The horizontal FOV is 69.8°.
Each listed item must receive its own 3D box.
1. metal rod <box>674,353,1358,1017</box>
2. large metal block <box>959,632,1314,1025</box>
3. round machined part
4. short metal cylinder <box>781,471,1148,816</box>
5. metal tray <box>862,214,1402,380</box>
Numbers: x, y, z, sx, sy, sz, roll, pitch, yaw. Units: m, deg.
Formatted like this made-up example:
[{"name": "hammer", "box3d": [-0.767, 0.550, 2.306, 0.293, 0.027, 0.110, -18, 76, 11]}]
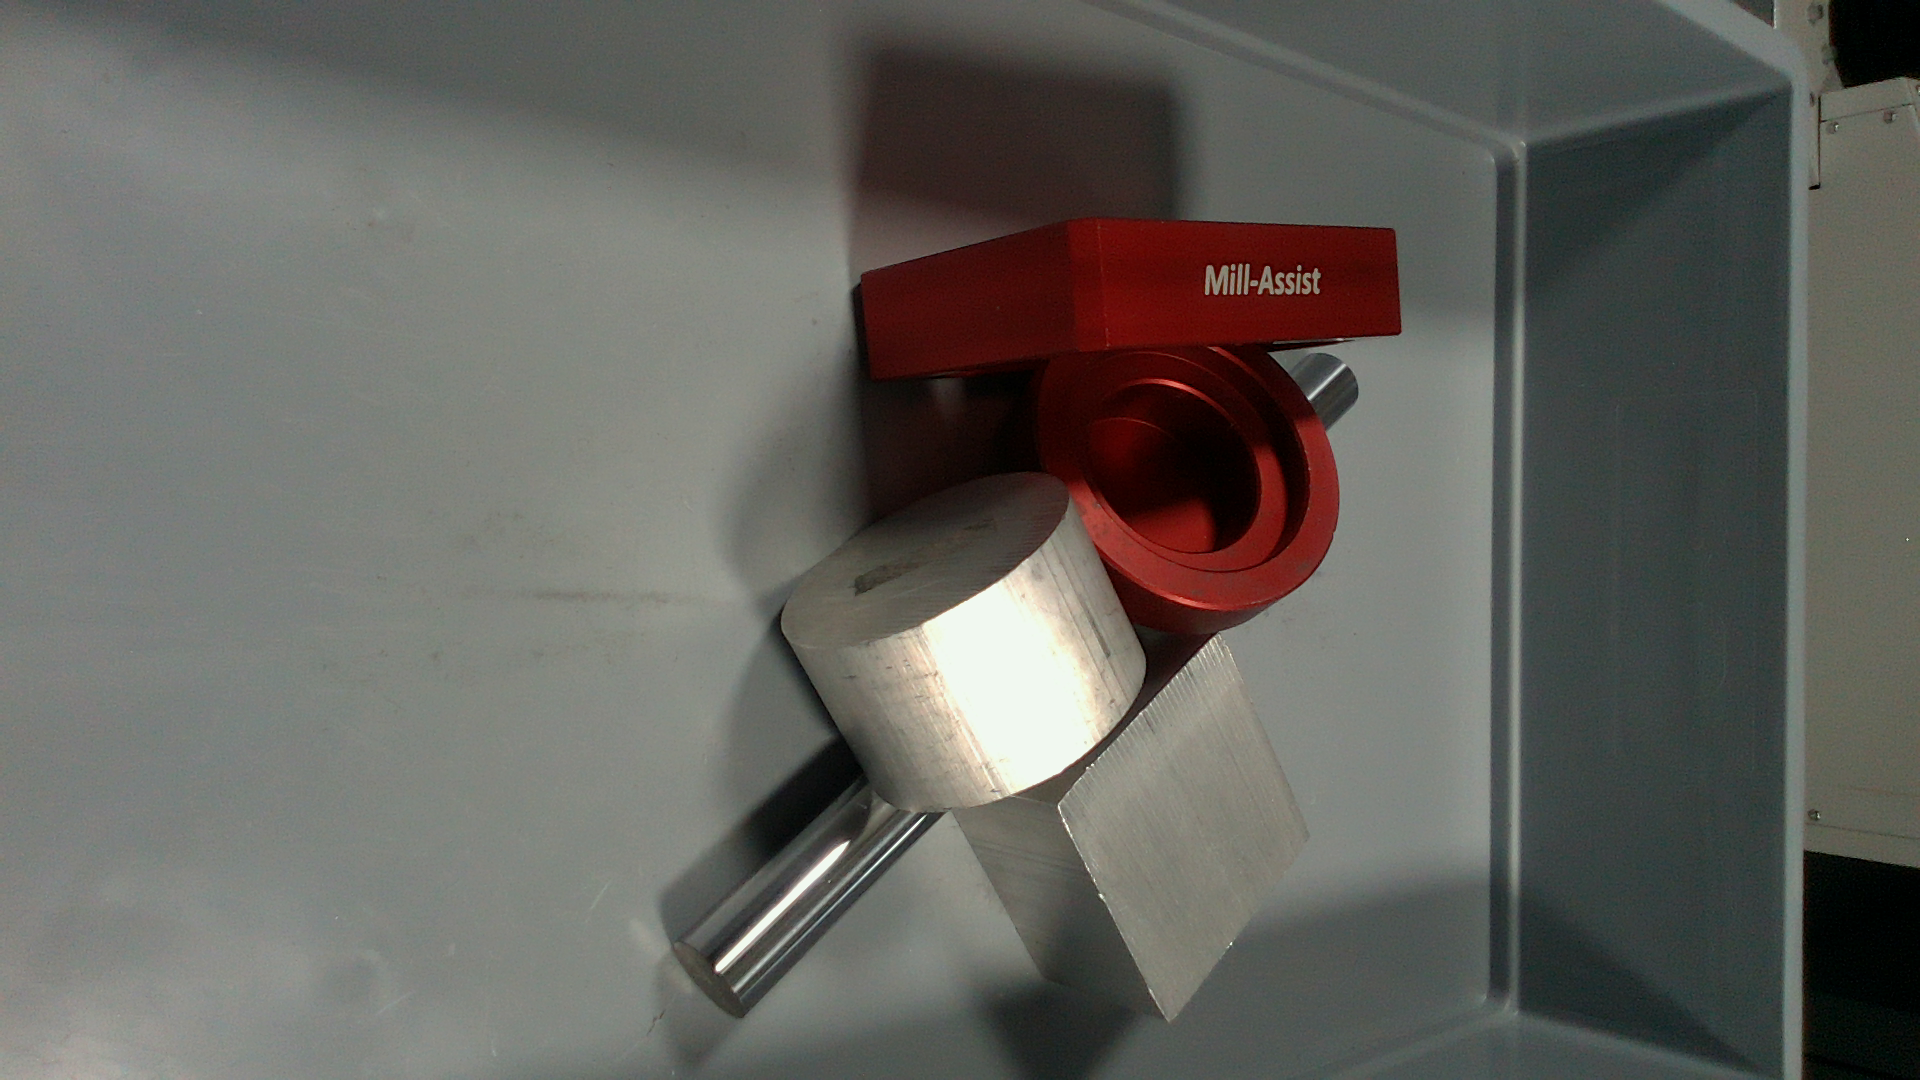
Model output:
[{"name": "metal rod", "box3d": [0.035, 0.025, 0.417, 0.301, 0.025, 0.025, -40, 114, -32]}, {"name": "large metal block", "box3d": [0.052, 0.081, 0.413, 0.080, 0.050, 0.080, -40, 114, -32]}, {"name": "round machined part", "box3d": [0.059, -0.018, 0.408, 0.098, 0.042, 0.098, 10, 62, -19]}, {"name": "short metal cylinder", "box3d": [0.001, 0.025, 0.353, 0.080, 0.080, 0.050, -41, 115, -32]}, {"name": "metal tray", "box3d": [0.050, -0.066, 0.385, 0.131, 0.090, 0.030, -9, 96, -40]}]
